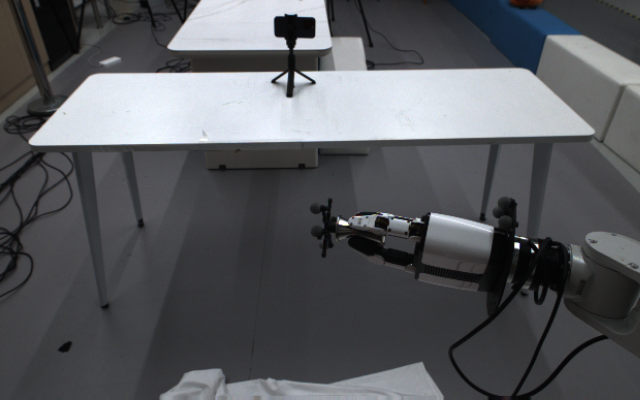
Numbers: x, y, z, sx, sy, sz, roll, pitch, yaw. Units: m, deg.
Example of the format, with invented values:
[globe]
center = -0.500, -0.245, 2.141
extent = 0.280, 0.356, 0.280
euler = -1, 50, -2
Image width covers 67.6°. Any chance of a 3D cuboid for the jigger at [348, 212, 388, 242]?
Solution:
[jigger]
center = 0.067, 0.039, 0.700
extent = 0.071, 0.043, 0.043
euler = 3, 34, 15
